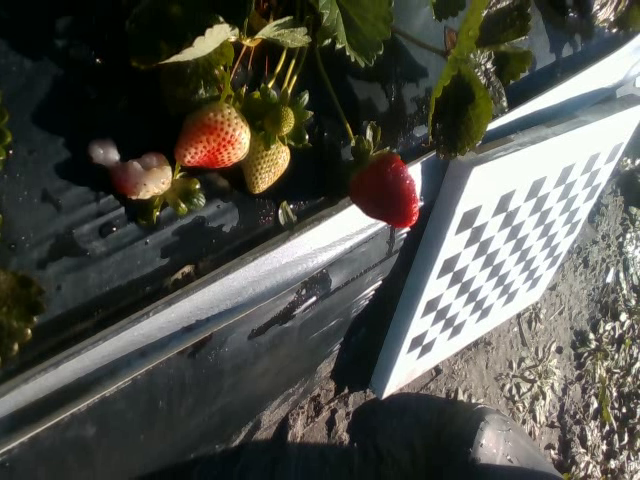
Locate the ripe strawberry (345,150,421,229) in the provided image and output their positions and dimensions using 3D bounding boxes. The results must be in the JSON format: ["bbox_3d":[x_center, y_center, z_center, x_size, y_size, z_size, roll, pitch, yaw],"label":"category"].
[{"bbox_3d":[0.034,-0.022,0.317,0.036,0.046,0.038,-20,-27,-33],"label":"ripe strawberry"}]
